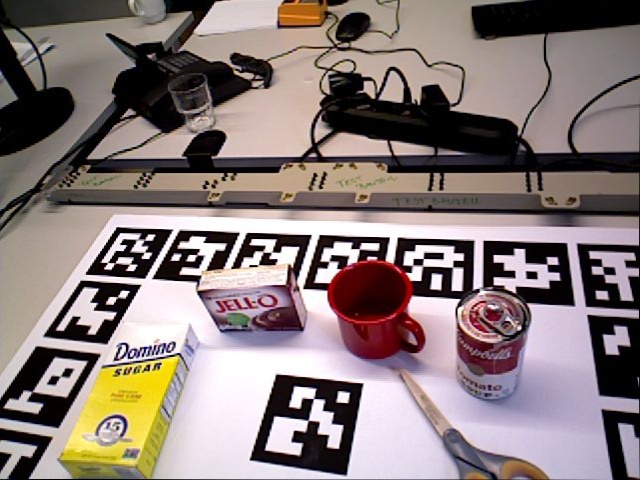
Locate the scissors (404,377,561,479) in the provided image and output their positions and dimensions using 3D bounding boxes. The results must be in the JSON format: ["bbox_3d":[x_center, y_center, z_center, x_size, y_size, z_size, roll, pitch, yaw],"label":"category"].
[{"bbox_3d":[0.145,0.200,0.508,0.087,0.016,0.202,-36,49,-7],"label":"scissors"}]

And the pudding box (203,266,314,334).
[{"bbox_3d":[-0.068,0.068,0.632,0.114,0.091,0.038,-5,52,8],"label":"pudding box"}]

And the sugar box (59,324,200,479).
[{"bbox_3d":[-0.205,0.176,0.605,0.093,0.046,0.173,-2,48,15],"label":"sugar box"}]

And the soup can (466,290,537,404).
[{"bbox_3d":[0.180,0.108,0.538,0.068,0.104,0.067,-7,44,6],"label":"soup can"}]

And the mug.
[{"bbox_3d":[0.077,0.078,0.598,0.092,0.083,0.116,-26,45,-8],"label":"mug"}]
